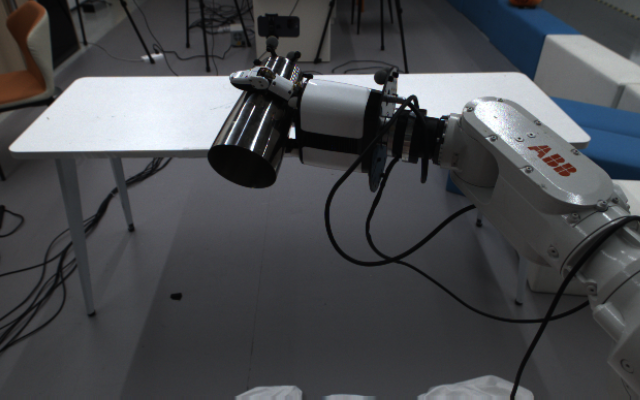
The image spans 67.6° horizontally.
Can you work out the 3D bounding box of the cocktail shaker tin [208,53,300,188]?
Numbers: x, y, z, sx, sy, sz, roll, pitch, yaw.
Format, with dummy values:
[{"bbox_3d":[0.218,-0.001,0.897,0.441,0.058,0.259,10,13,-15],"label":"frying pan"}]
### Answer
[{"bbox_3d":[-0.076,-0.110,0.647,0.093,0.093,0.170,10,60,12],"label":"cocktail shaker tin"}]
